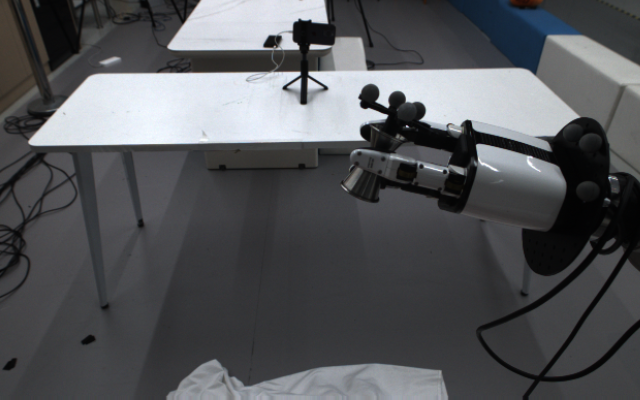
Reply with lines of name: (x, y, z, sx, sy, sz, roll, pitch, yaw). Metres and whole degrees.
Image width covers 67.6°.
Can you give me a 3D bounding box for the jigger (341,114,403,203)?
jigger: (0.053, -0.036, 0.481, 0.043, 0.071, 0.043, 23, 19, -8)
